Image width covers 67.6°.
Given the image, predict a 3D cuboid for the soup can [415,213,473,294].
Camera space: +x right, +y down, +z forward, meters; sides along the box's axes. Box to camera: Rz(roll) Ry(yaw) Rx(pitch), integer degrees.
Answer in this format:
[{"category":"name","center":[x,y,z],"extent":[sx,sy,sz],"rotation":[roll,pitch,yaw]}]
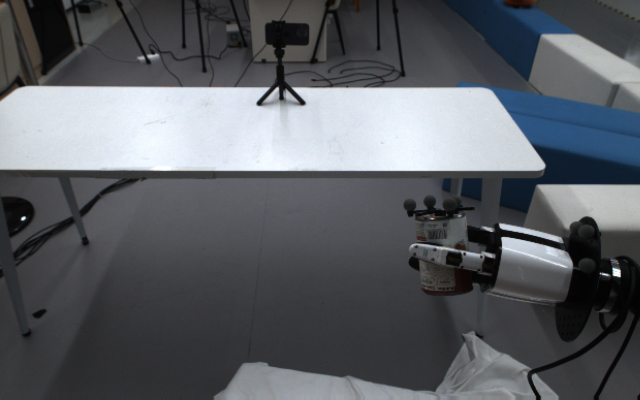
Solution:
[{"category":"soup can","center":[0.166,0.068,0.644],"extent":[0.067,0.101,0.067],"rotation":[-6,3,0]}]
